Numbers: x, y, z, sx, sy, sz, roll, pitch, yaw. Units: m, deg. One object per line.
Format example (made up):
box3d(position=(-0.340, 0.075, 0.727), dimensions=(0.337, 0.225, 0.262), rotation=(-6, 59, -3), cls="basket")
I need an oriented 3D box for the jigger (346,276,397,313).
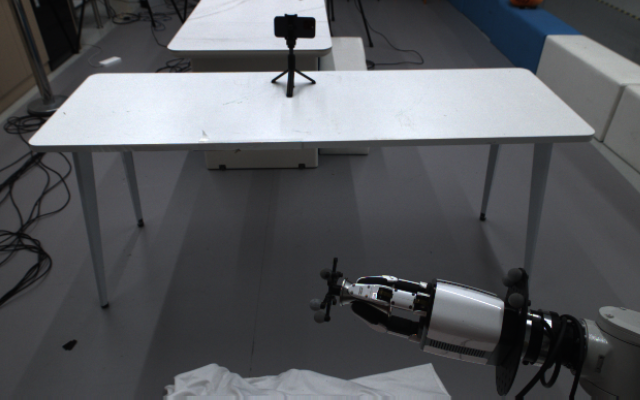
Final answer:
box3d(position=(0.071, 0.125, 0.652), dimensions=(0.071, 0.043, 0.043), rotation=(7, 35, 16), cls="jigger")
